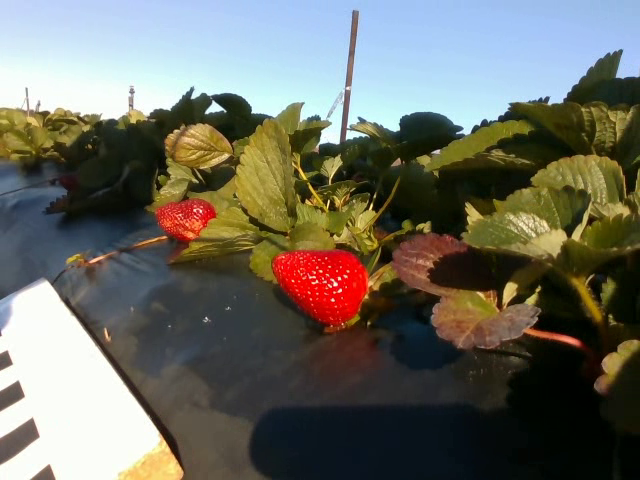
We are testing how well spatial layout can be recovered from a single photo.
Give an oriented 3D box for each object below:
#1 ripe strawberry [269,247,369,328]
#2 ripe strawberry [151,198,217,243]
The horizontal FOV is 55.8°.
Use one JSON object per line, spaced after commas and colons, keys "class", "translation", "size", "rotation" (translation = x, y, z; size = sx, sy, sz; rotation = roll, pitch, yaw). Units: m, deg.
{"class": "ripe strawberry", "translation": [-0.004, 0.019, 0.281], "size": [0.050, 0.043, 0.043], "rotation": [24, 25, -14]}
{"class": "ripe strawberry", "translation": [-0.102, -0.015, 0.460], "size": [0.053, 0.043, 0.041], "rotation": [15, 12, -28]}
